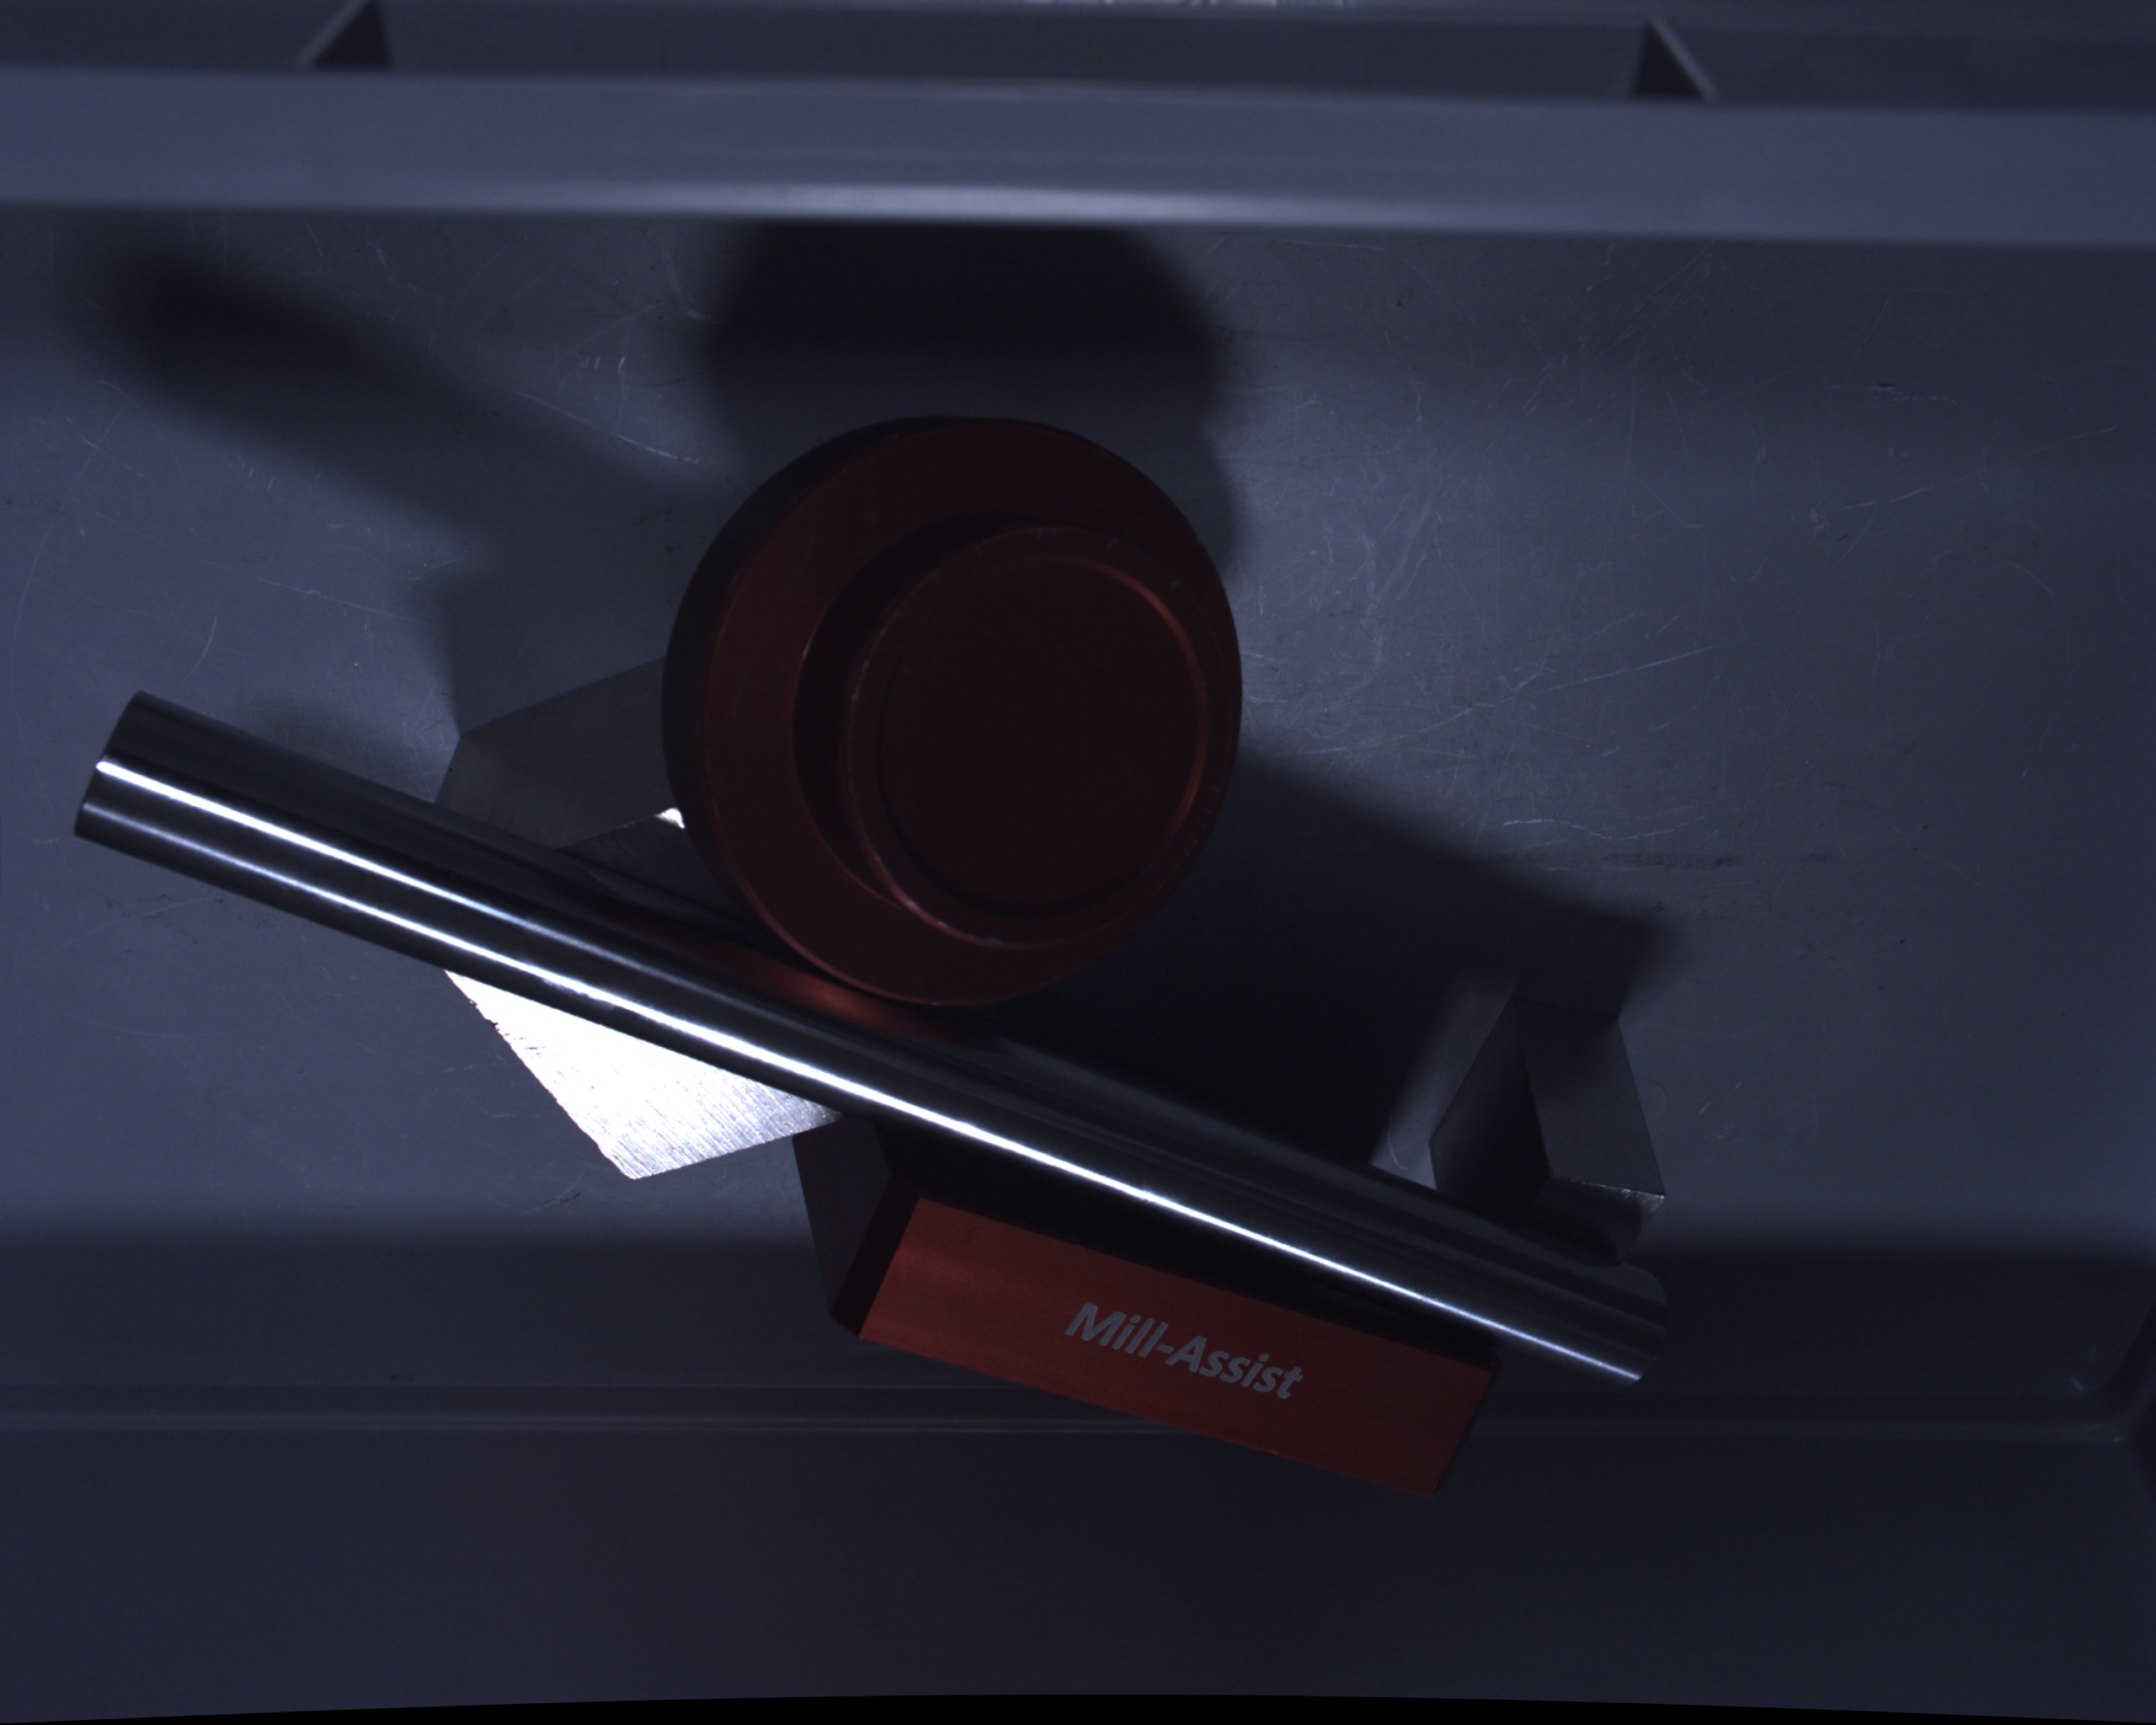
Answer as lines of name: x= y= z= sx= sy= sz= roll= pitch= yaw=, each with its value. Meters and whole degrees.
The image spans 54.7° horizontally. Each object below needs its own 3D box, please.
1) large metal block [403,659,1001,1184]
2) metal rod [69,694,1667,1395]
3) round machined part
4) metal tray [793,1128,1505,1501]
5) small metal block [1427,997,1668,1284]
large metal block: x=-0.067 y=0.008 z=0.396 sx=0.080 sy=0.050 sz=0.080 roll=-18 pitch=128 yaw=14
metal rod: x=-0.020 y=0.040 z=0.374 sx=0.302 sy=0.025 sz=0.025 roll=23 pitch=126 yaw=-19
round machined part: x=-0.014 y=-0.023 z=0.342 sx=0.099 sy=0.042 sz=0.097 roll=-7 pitch=104 yaw=-28
metal tray: x=0.011 y=0.080 z=0.428 sx=0.131 sy=0.090 sz=0.030 roll=20 pitch=100 yaw=-18
small metal block: x=0.099 y=0.066 z=0.448 sx=0.025 sy=0.050 sz=0.050 roll=11 pitch=129 yaw=-10
